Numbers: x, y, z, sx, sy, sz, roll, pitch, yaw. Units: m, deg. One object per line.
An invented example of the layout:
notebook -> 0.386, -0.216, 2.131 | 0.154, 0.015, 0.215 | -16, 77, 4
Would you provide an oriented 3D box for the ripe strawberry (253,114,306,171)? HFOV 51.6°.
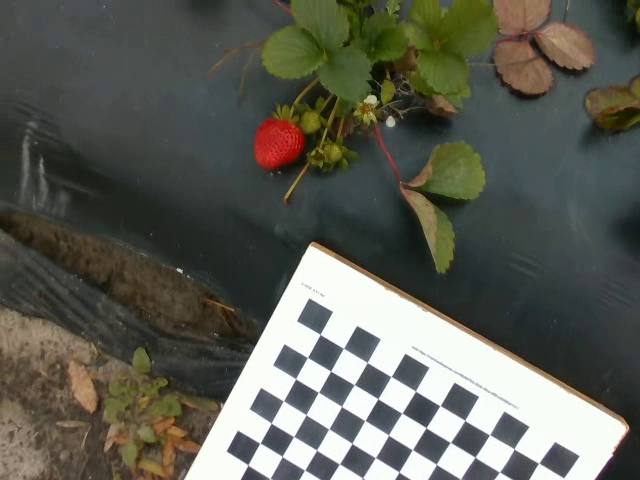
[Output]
ripe strawberry -> -0.012, -0.023, 0.159 | 0.018, 0.017, 0.014 | 32, -30, -5
